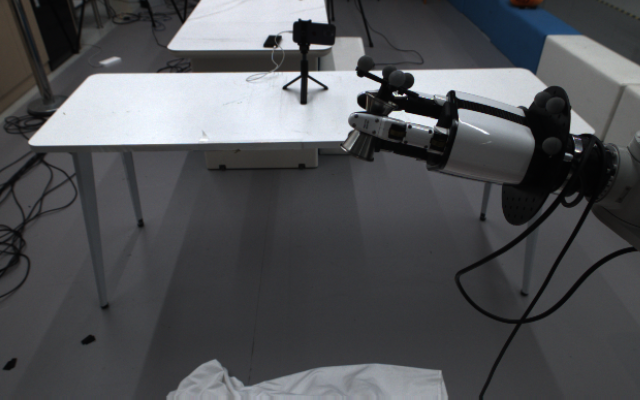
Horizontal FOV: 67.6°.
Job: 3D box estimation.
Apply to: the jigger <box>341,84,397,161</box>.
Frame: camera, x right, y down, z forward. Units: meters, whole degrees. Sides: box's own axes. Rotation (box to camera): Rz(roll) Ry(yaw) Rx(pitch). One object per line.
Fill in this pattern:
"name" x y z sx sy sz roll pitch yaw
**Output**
"jigger" 0.054 -0.082 0.549 0.043 0.071 0.043 23 19 -8
